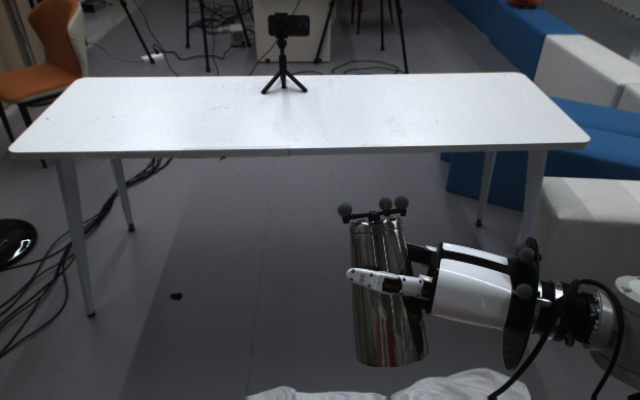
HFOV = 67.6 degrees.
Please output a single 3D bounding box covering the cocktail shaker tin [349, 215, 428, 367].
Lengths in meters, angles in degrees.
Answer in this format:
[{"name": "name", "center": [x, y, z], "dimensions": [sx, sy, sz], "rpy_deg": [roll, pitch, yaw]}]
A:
[{"name": "cocktail shaker tin", "center": [0.081, 0.110, 0.610], "dimensions": [0.093, 0.170, 0.093], "rpy_deg": [-8, 1, 0]}]
